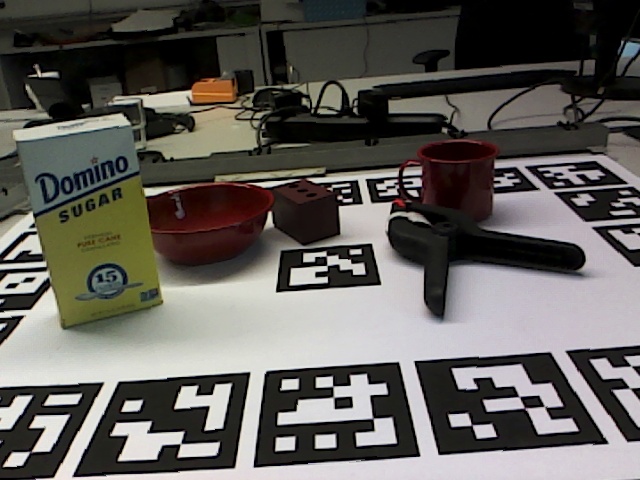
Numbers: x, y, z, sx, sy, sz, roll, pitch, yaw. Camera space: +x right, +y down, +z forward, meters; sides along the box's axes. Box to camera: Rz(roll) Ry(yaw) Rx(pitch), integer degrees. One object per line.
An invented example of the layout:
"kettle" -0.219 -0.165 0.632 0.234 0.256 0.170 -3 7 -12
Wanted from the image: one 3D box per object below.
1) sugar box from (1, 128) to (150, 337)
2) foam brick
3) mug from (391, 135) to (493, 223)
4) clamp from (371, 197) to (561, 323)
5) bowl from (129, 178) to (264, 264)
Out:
"sugar box" -0.216 -0.005 0.559 0.092 0.176 0.045 -15 31 -22
"foam brick" -0.026 -0.031 0.730 0.052 0.051 0.078 -18 31 -23
"mug" 0.141 -0.074 0.740 0.118 0.081 0.093 12 31 22
"clamp" 0.114 0.003 0.634 0.165 0.036 0.204 -17 31 -19
"bowl" -0.142 -0.018 0.704 0.162 0.055 0.162 -3 27 1
